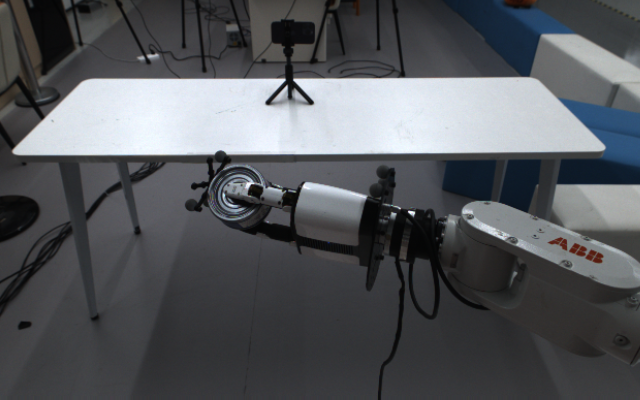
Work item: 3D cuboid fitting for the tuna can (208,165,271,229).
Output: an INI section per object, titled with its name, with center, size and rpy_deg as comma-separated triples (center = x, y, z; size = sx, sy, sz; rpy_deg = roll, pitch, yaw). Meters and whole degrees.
[tuna can]
center = -0.107, -0.007, 0.659
size = 0.085, 0.034, 0.085
rpy_deg = -3, 70, 9
